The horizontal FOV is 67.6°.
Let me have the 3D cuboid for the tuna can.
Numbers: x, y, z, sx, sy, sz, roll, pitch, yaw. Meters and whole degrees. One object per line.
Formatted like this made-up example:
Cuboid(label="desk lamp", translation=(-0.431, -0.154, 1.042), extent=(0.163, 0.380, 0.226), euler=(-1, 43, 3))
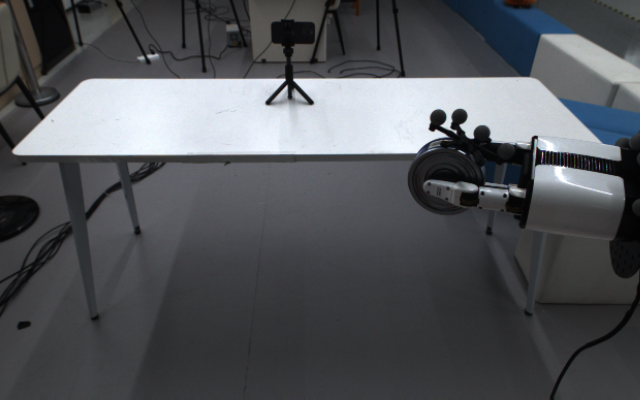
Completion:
Cuboid(label="tuna can", translation=(0.149, -0.020, 0.553), extent=(0.085, 0.085, 0.034), euler=(15, 31, 18))
